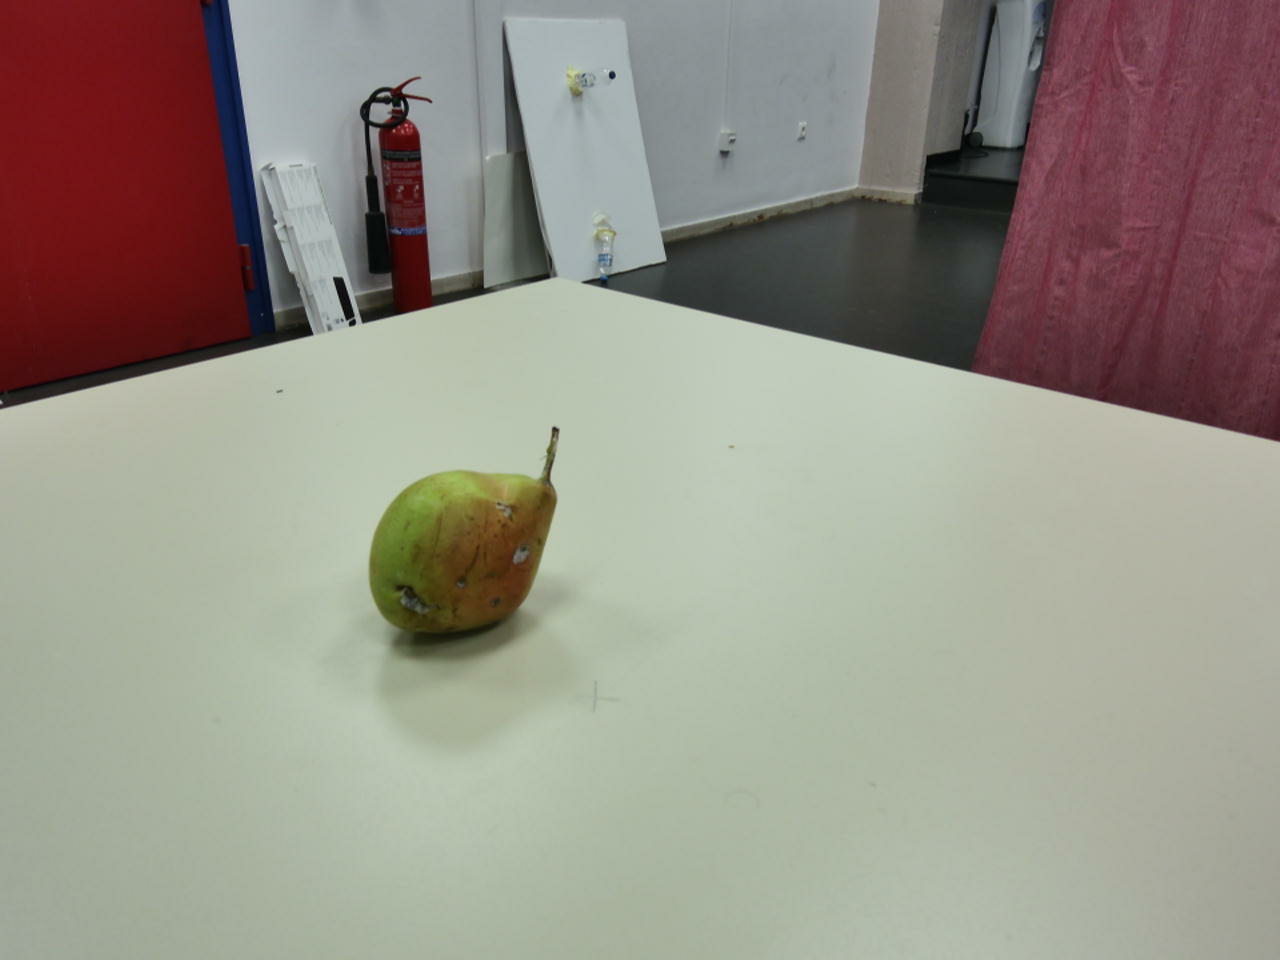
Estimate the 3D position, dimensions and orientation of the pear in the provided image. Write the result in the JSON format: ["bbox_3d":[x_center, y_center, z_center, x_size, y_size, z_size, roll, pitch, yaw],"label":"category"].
[{"bbox_3d":[-0.068,0.024,0.387,0.070,0.069,0.068,0,23,0],"label":"pear"}]
